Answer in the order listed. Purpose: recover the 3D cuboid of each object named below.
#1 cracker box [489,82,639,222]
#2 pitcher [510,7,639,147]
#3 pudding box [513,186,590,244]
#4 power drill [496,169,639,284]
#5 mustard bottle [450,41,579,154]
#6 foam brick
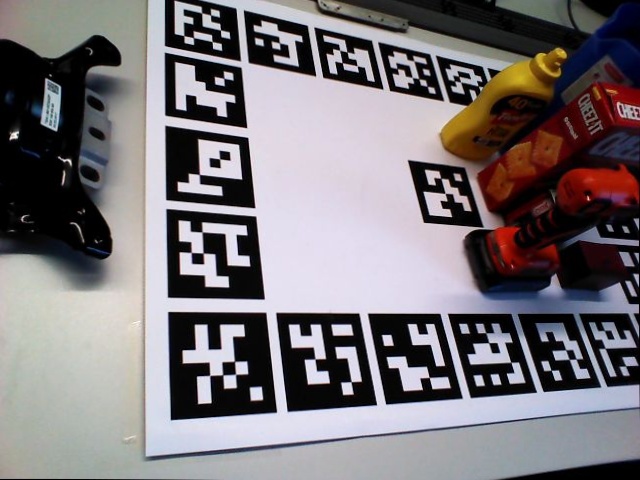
[{"bbox_3d":[0.361,-0.099,0.686,0.164,0.215,0.071,1,63,-21],"label":"cracker box"},{"bbox_3d":[0.395,-0.191,0.741,0.188,0.244,0.132,9,62,-18],"label":"pitcher"},{"bbox_3d":[0.340,-0.033,0.708,0.113,0.090,0.038,4,62,-19],"label":"pudding box"},{"bbox_3d":[0.315,-0.011,0.602,0.184,0.188,0.057,3,61,-23],"label":"power drill"},{"bbox_3d":[0.268,-0.194,0.700,0.096,0.193,0.058,16,60,-16],"label":"mustard bottle"},{"bbox_3d":[0.388,0.042,0.730,0.078,0.052,0.052,6,64,-21],"label":"foam brick"}]
